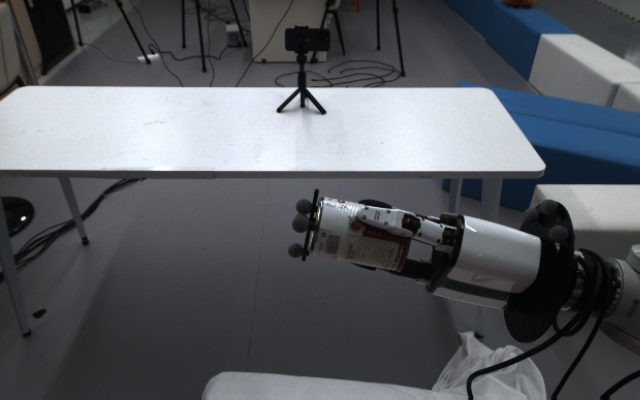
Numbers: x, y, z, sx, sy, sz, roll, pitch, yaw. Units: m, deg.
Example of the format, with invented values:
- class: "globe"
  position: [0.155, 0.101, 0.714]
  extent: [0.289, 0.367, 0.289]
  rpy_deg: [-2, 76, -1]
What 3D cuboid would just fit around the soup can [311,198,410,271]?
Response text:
- class: "soup can"
  position: [0.047, 0.037, 0.539]
  extent: [0.101, 0.067, 0.067]
  rpy_deg: [11, 35, -2]
